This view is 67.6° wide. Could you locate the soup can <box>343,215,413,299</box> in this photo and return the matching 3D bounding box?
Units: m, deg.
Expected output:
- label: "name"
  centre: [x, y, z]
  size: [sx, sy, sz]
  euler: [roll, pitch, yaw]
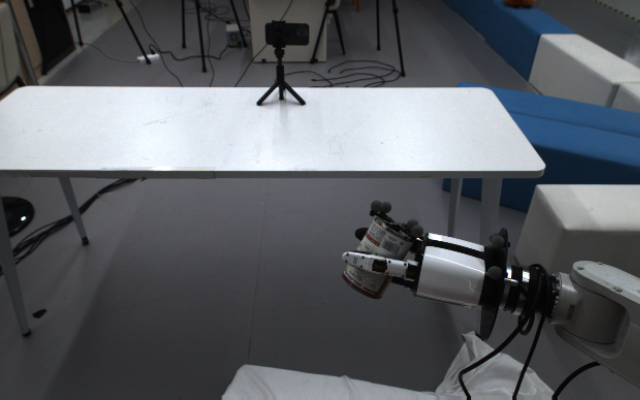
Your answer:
- label: "soup can"
  centre: [0.086, 0.084, 0.708]
  size: [0.067, 0.101, 0.067]
  euler: [27, 10, -5]
